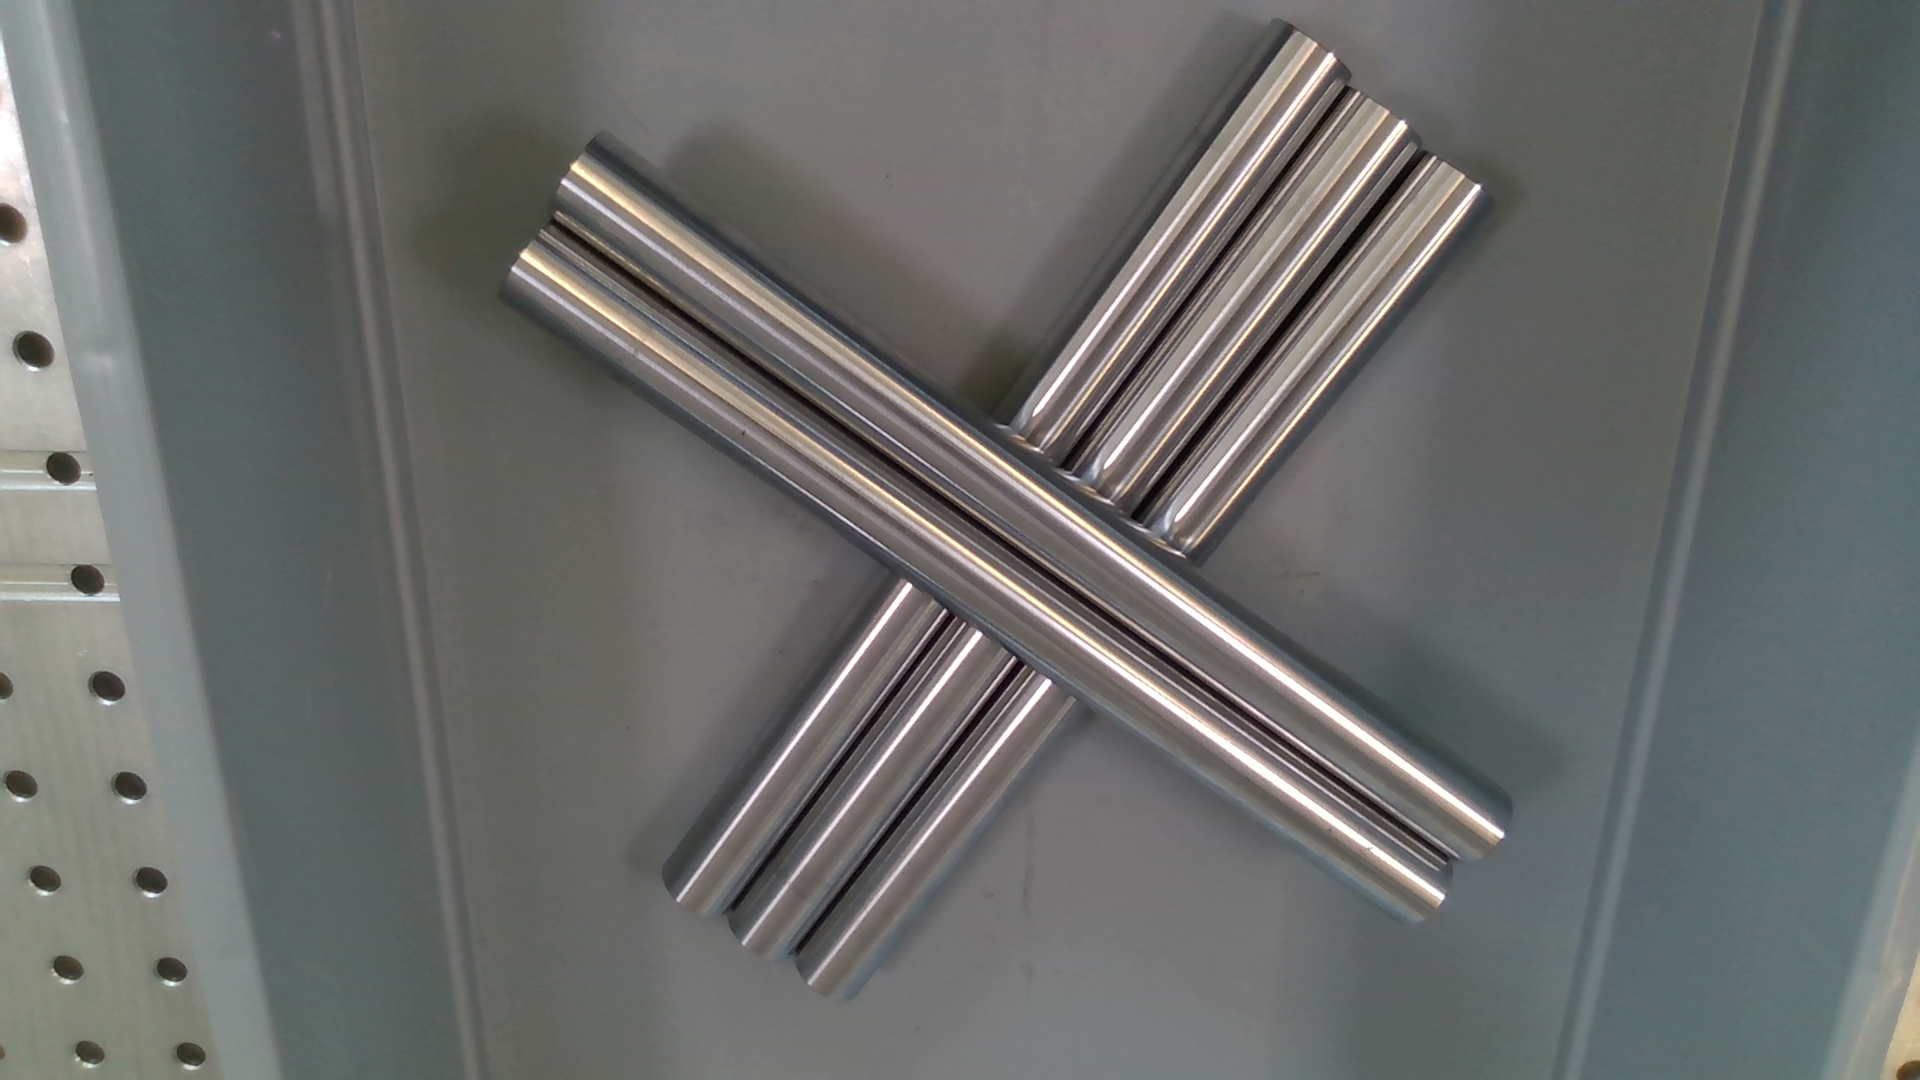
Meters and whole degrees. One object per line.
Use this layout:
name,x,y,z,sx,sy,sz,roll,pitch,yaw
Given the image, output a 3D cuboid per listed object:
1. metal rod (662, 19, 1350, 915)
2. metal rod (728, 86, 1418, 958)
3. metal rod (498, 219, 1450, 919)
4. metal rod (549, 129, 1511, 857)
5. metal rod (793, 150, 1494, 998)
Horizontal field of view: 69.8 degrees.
metal rod,0.003,-0.008,0.390,0.025,0.025,0.300,33,107,-11
metal rod,0.022,0.007,0.395,0.025,0.025,0.300,33,107,-11
metal rod,0.013,0.015,0.371,0.300,0.025,0.025,35,106,-12
metal rod,0.028,-0.005,0.364,0.300,0.025,0.025,35,106,-12
metal rod,0.043,0.022,0.400,0.025,0.025,0.300,33,107,-11
